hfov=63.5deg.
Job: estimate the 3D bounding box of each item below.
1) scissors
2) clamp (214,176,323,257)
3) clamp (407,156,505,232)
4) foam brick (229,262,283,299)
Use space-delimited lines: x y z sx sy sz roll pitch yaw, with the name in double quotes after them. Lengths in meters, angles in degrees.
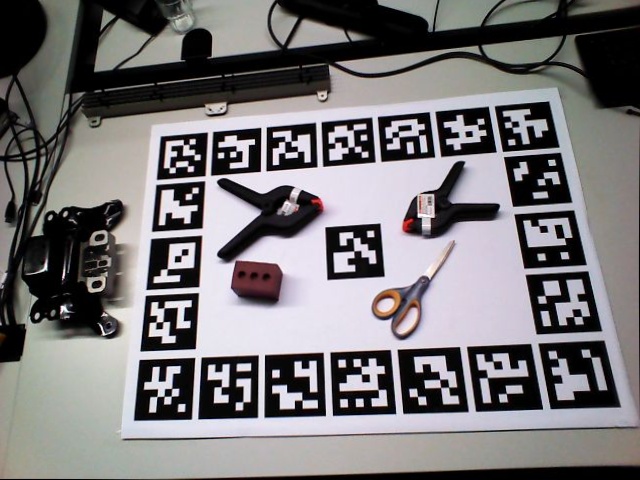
0.170 0.075 0.884 0.088 0.016 0.202 37 77 10 "scissors"
-0.096 -0.056 0.958 0.203 0.037 0.164 -7 66 4 "clamp"
0.229 -0.066 0.924 0.165 0.036 0.121 -30 76 -3 "clamp"
-0.111 0.071 0.908 0.078 0.051 0.052 3 72 13 "foam brick"
